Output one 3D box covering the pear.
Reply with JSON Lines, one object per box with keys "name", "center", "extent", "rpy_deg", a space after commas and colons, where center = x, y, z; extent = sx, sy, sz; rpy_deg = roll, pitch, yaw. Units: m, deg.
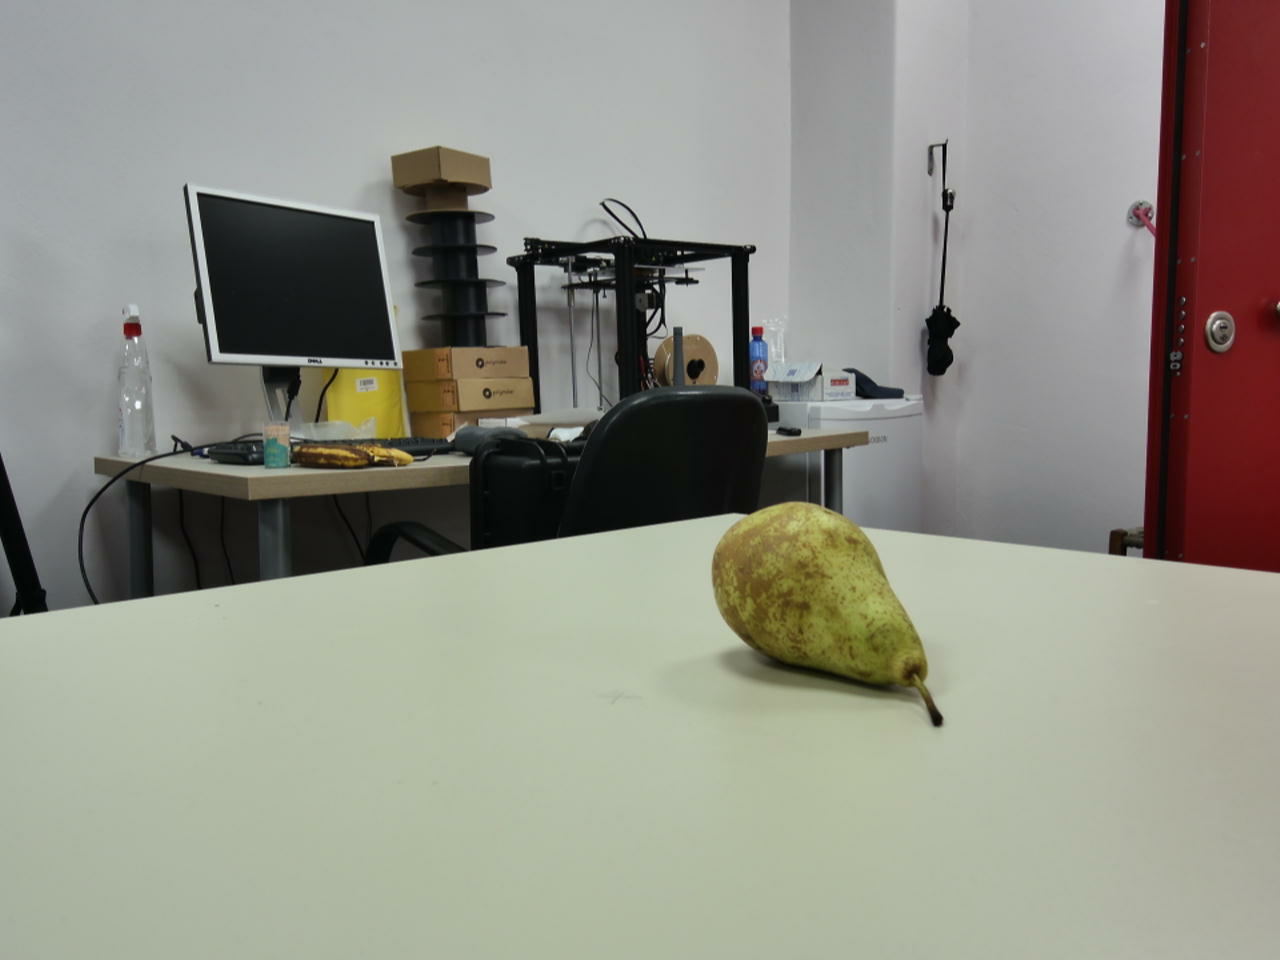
{"name": "pear", "center": [0.087, 0.050, 0.439], "extent": [0.128, 0.075, 0.071], "rpy_deg": [4, 4, 41]}
